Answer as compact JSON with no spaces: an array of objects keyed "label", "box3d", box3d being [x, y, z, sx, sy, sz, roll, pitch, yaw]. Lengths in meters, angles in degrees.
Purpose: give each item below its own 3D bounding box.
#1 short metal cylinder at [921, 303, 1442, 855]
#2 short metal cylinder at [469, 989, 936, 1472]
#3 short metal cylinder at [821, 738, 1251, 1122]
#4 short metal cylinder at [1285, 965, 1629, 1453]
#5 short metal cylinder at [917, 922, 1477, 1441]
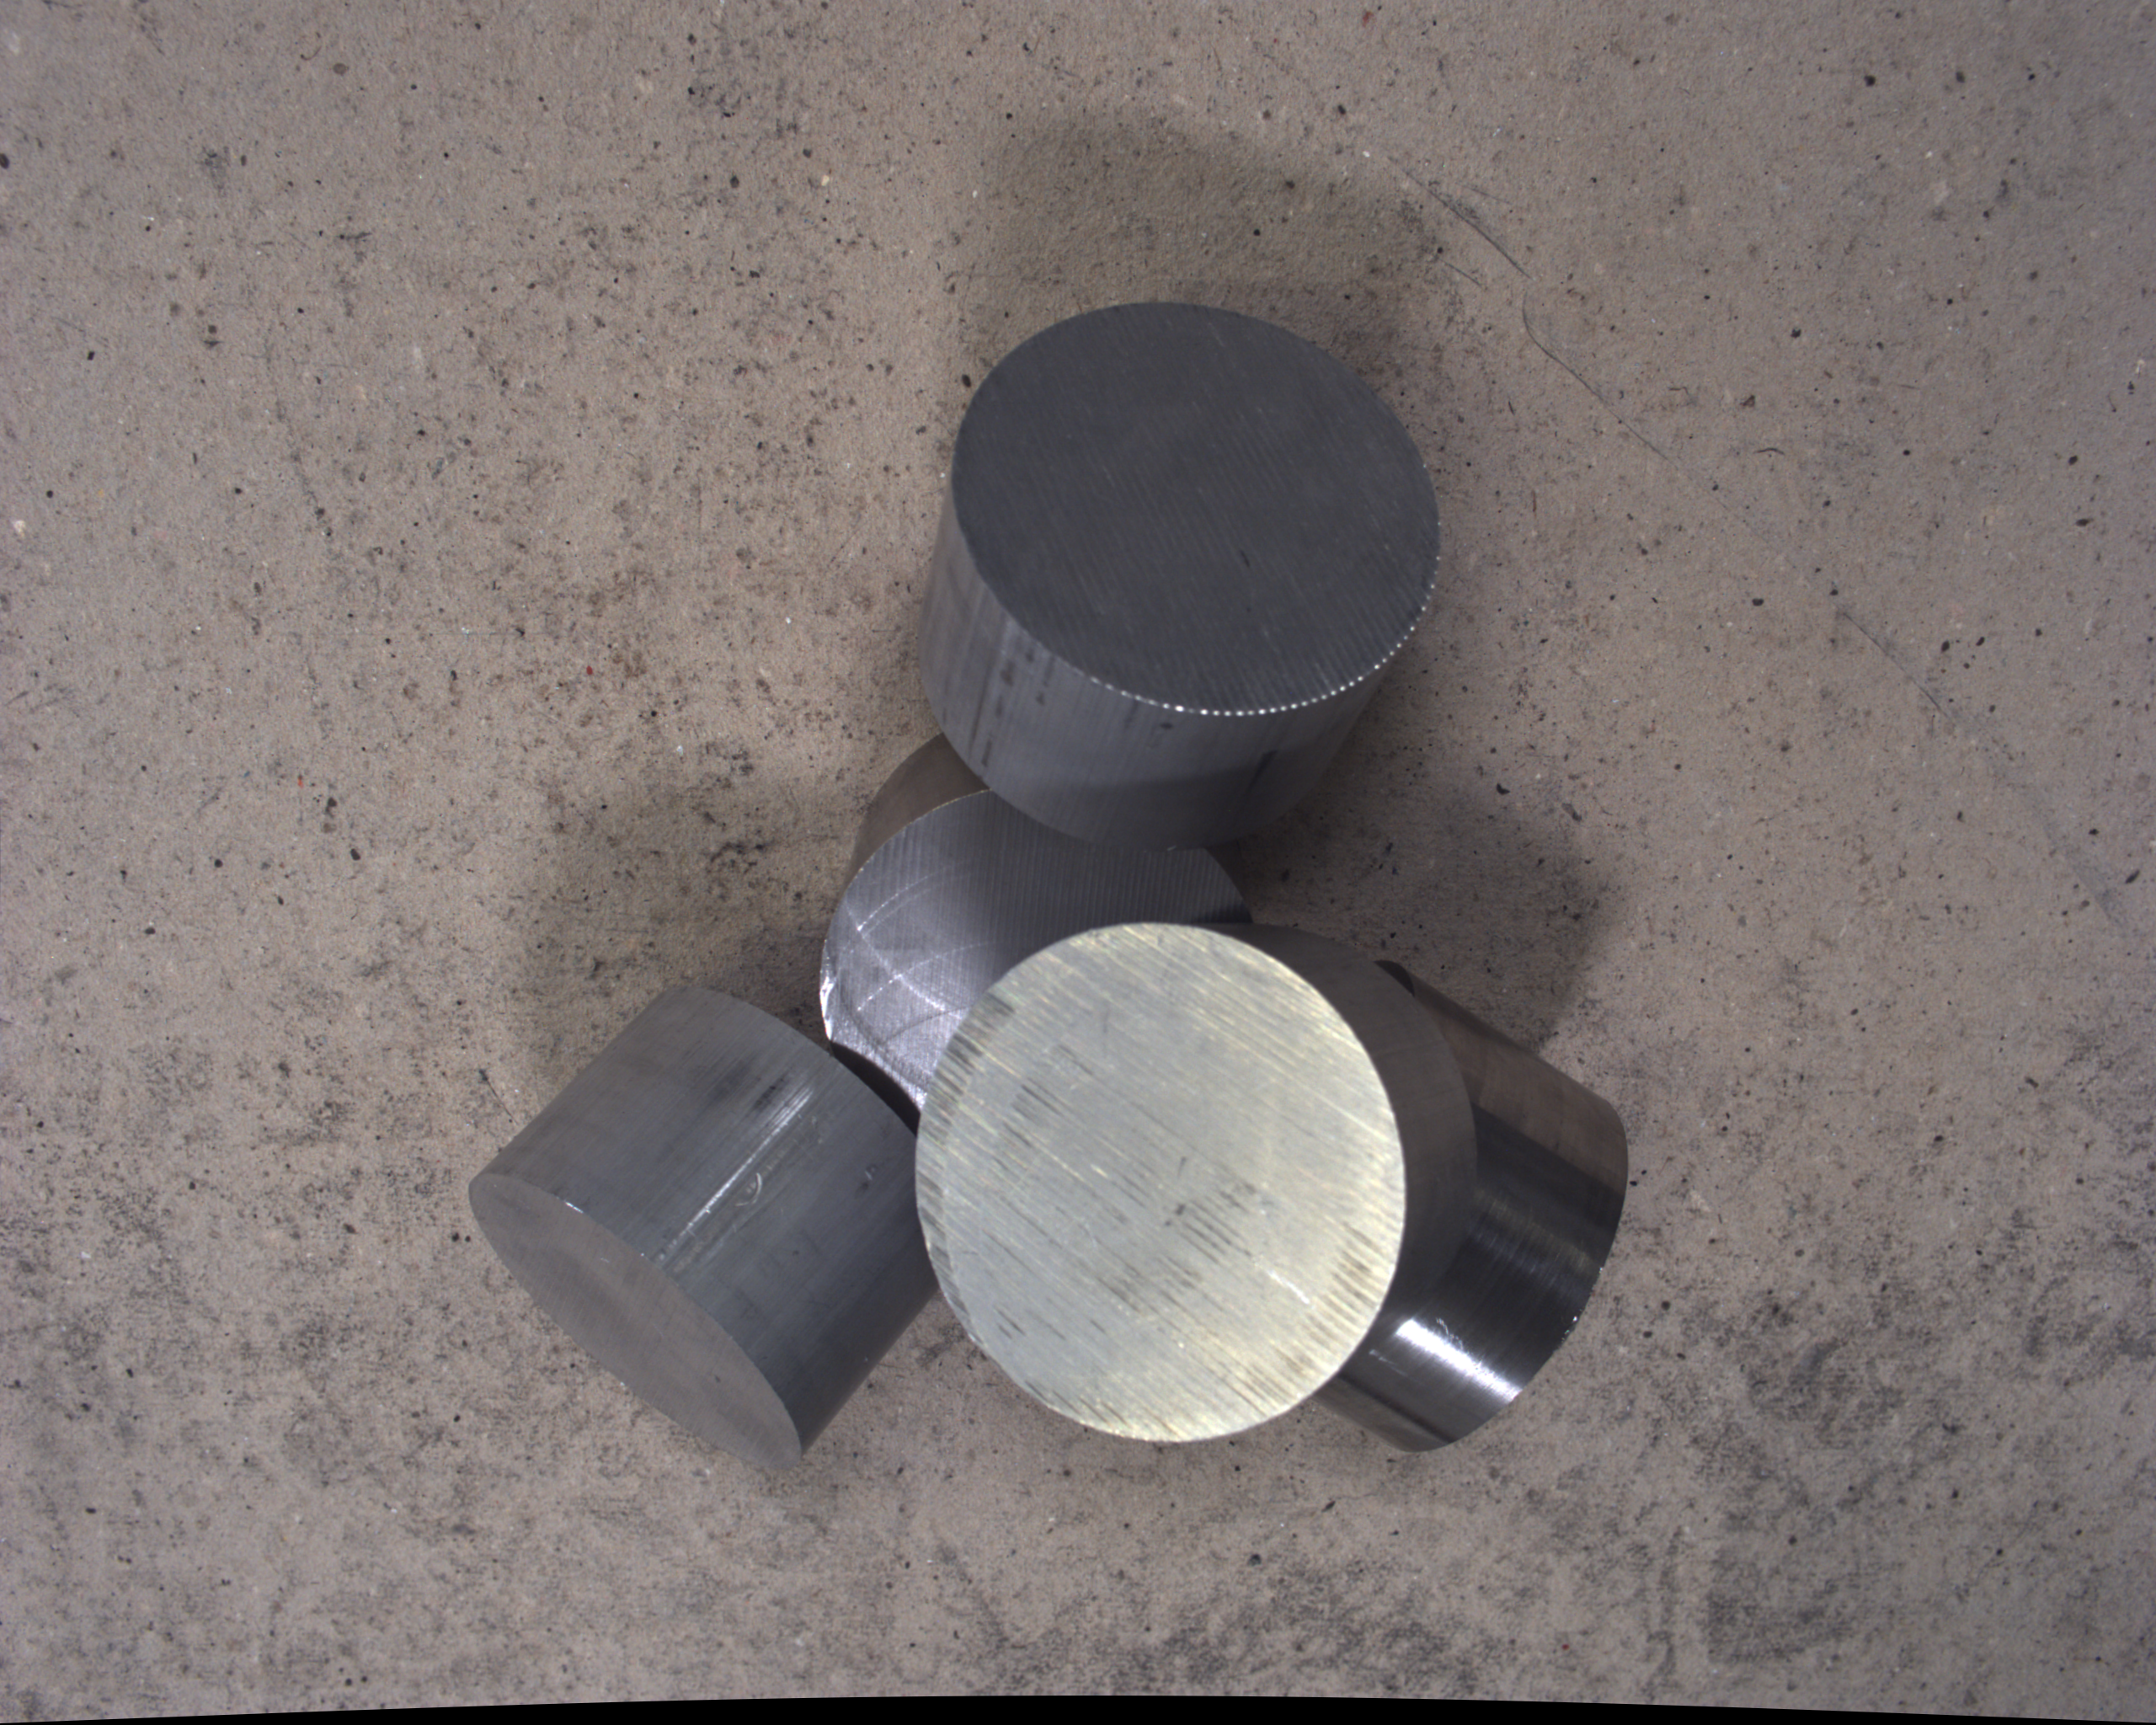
[{"label":"short metal cylinder","box3d":[0.016,-0.048,0.357,0.080,0.080,0.050,13,153,-5]},{"label":"short metal cylinder","box3d":[-0.069,0.071,0.401,0.080,0.050,0.080,27,146,21]},{"label":"short metal cylinder","box3d":[-0.007,0.015,0.403,0.081,0.050,0.079,0,110,-1]},{"label":"short metal cylinder","box3d":[0.060,0.067,0.406,0.050,0.080,0.080,33,107,-12]},{"label":"short metal cylinder","box3d":[0.021,0.050,0.345,0.080,0.050,0.080,-1,88,22]}]
